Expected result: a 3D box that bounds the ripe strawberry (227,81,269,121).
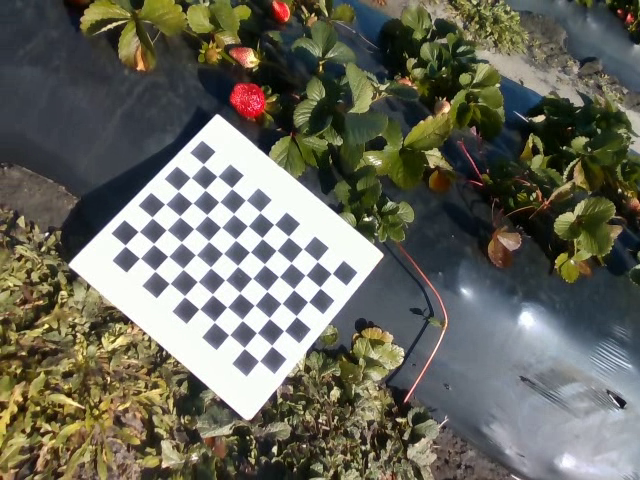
[{"bbox_3d":[-0.097,-0.185,0.833,0.058,0.066,0.061,-11,-11,18],"label":"ripe strawberry"}]
